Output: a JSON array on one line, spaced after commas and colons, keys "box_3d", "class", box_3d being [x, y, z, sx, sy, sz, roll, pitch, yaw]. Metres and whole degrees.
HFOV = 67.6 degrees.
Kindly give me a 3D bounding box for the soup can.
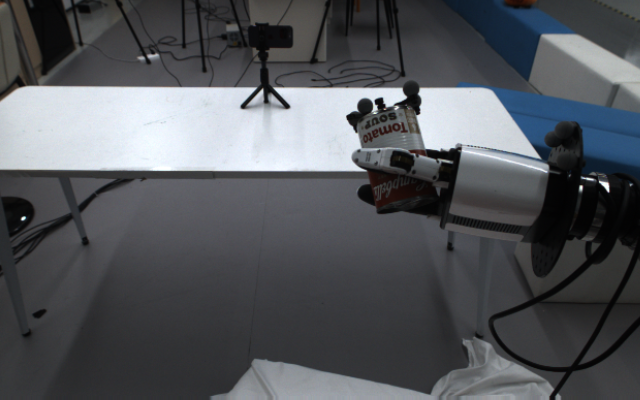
[{"box_3d": [0.084, -0.043, 0.526, 0.067, 0.067, 0.101, -10, 80, -16], "class": "soup can"}]
